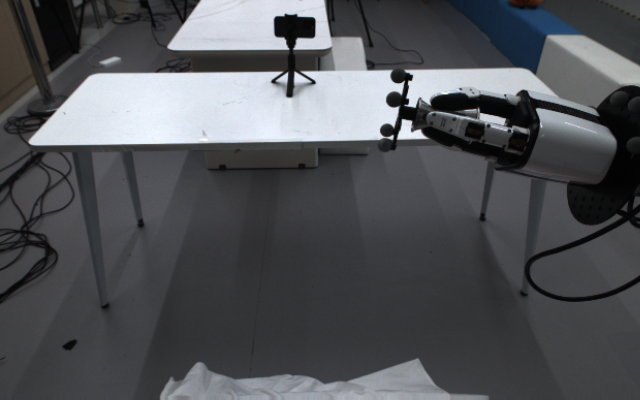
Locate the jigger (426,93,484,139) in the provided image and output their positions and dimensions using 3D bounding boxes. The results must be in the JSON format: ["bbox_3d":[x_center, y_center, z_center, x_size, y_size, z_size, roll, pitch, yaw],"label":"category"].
[{"bbox_3d":[0.149,-0.094,0.559,0.071,0.043,0.043,11,35,3],"label":"jigger"}]
